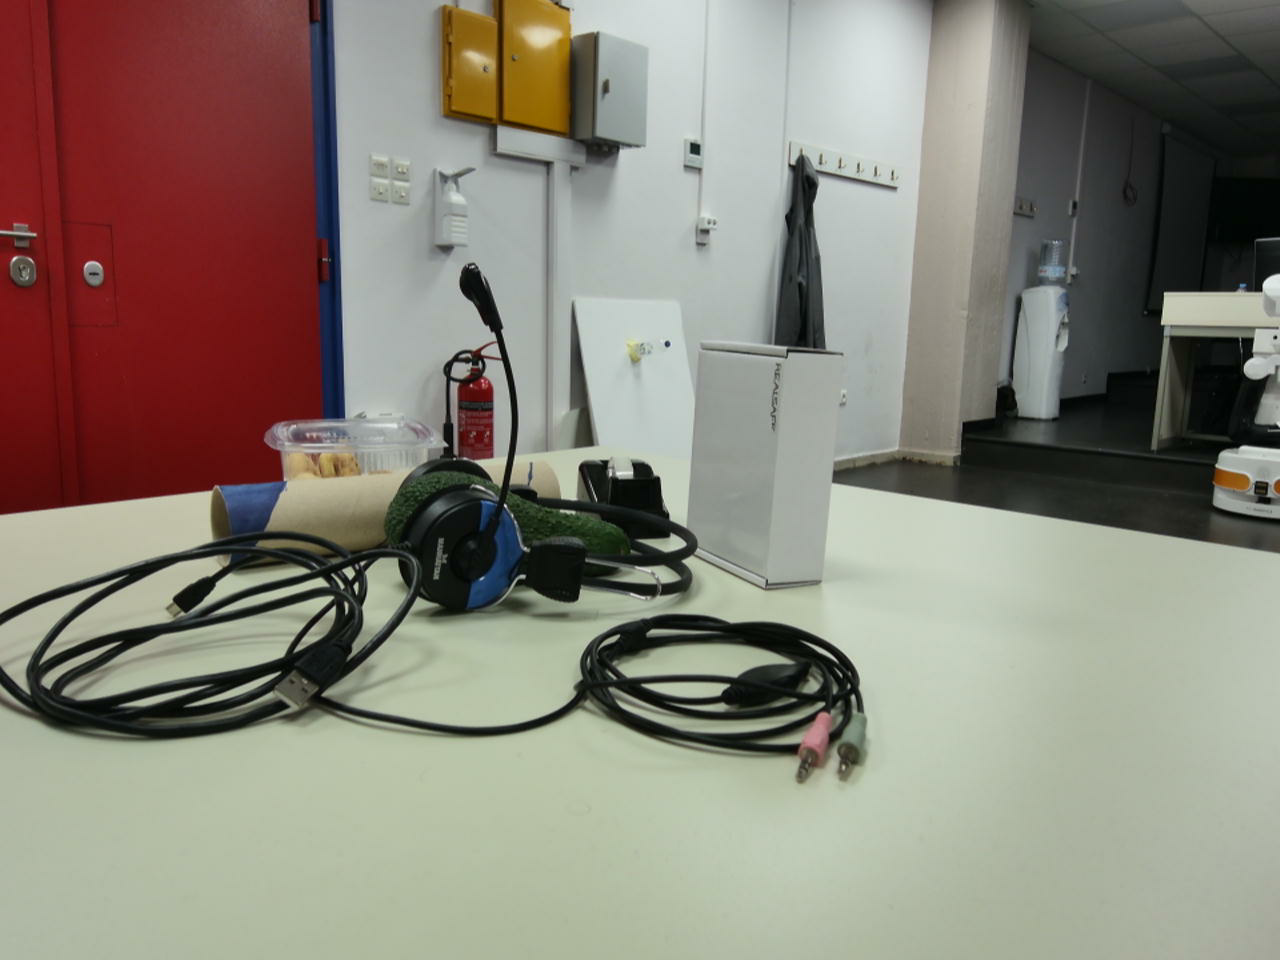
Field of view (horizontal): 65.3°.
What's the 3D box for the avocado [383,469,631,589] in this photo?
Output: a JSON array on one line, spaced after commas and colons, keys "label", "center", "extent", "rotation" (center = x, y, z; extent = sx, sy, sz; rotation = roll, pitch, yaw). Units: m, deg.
[{"label": "avocado", "center": [-0.076, 0.025, 0.577], "extent": [0.141, 0.067, 0.063], "rotation": [-5, 9, -33]}]
